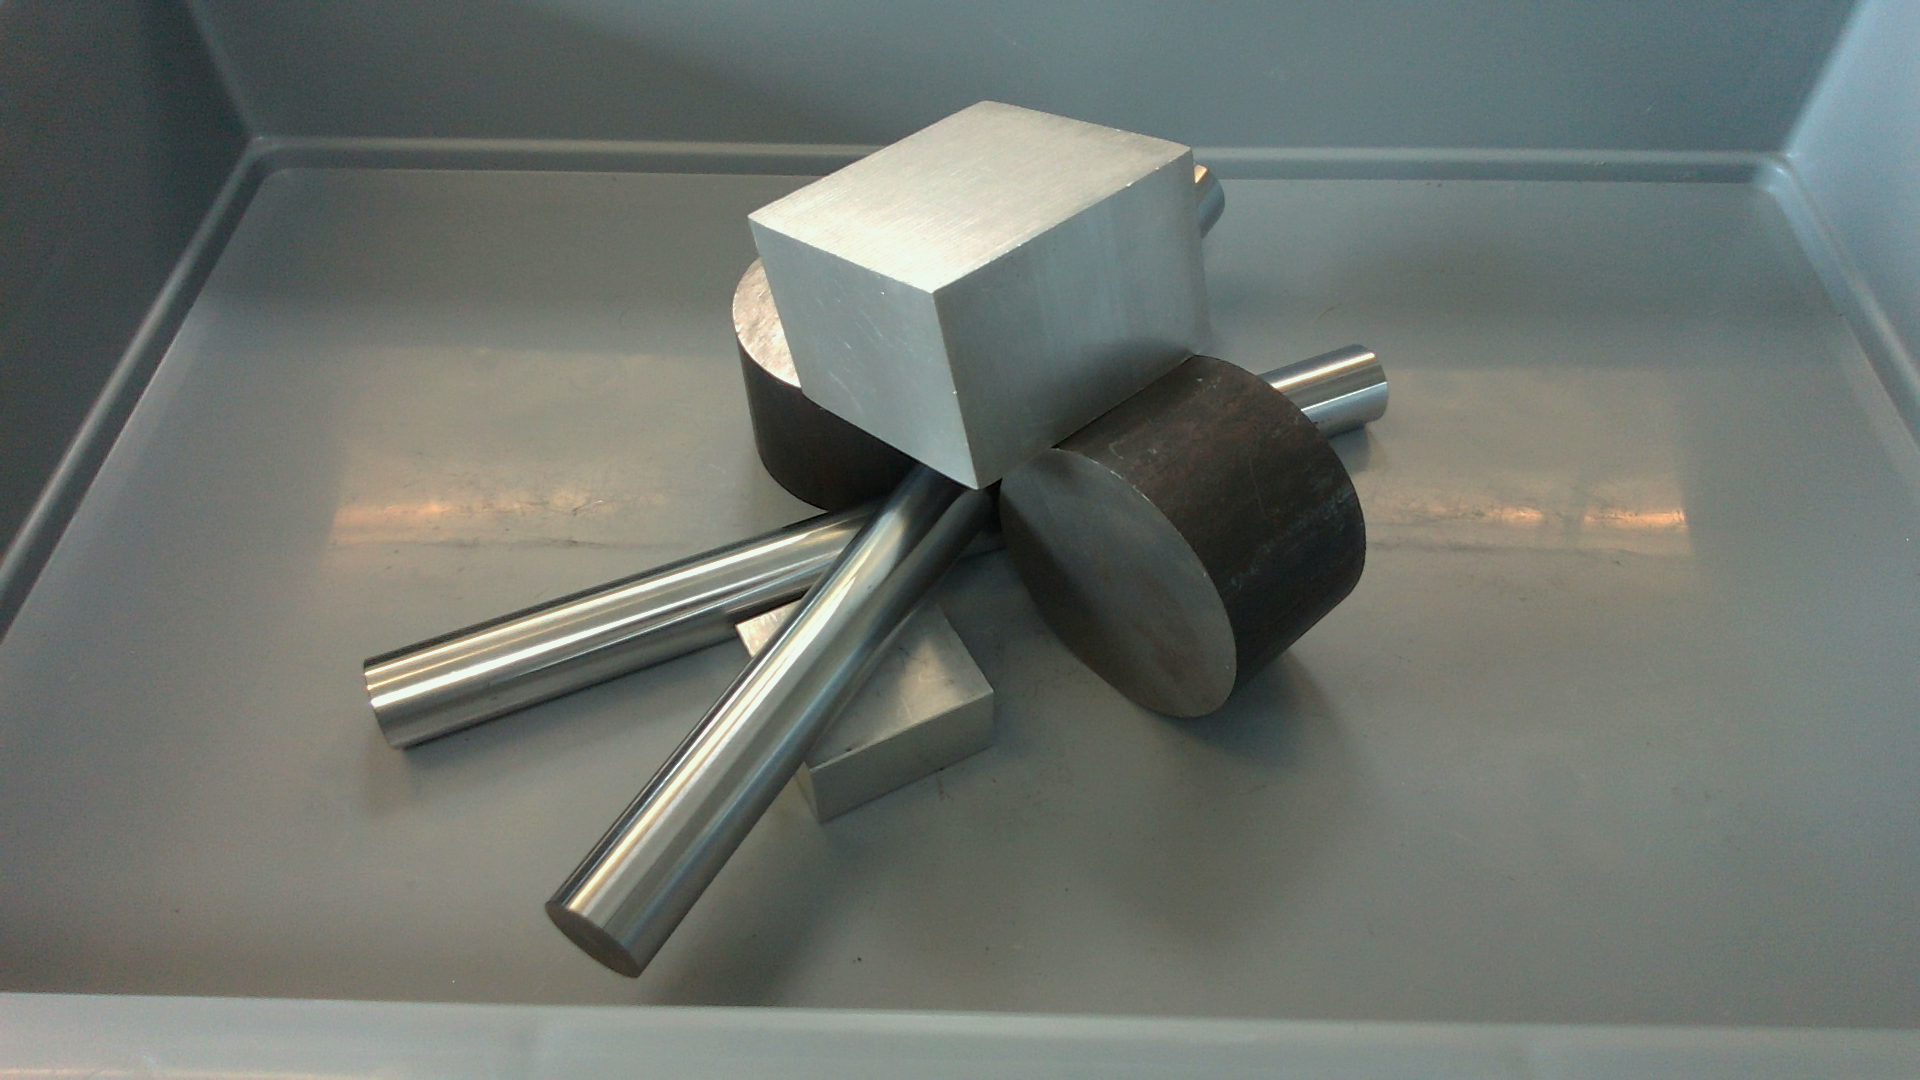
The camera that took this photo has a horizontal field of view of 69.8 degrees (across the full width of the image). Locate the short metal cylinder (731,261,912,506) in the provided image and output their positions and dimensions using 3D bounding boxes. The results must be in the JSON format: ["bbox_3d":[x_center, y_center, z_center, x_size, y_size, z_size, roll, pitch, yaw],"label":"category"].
[{"bbox_3d":[-0.026,-0.054,0.419,0.080,0.050,0.080,0,50,0],"label":"short metal cylinder"}]

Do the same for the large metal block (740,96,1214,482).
[{"bbox_3d":[0.005,-0.068,0.348,0.080,0.050,0.080,-33,40,-24],"label":"large metal block"}]

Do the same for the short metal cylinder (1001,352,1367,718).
[{"bbox_3d":[0.056,-0.001,0.356,0.050,0.080,0.080,-36,59,-25],"label":"short metal cylinder"}]

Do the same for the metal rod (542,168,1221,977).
[{"bbox_3d":[-0.001,-0.015,0.371,0.025,0.025,0.301,24,54,19],"label":"metal rod"}]

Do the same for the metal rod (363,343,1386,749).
[{"bbox_3d":[-0.012,-0.004,0.393,0.301,0.025,0.025,-18,52,-15],"label":"metal rod"}]

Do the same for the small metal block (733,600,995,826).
[{"bbox_3d":[-0.025,0.038,0.358,0.050,0.025,0.050,-22,53,-18],"label":"small metal block"}]
